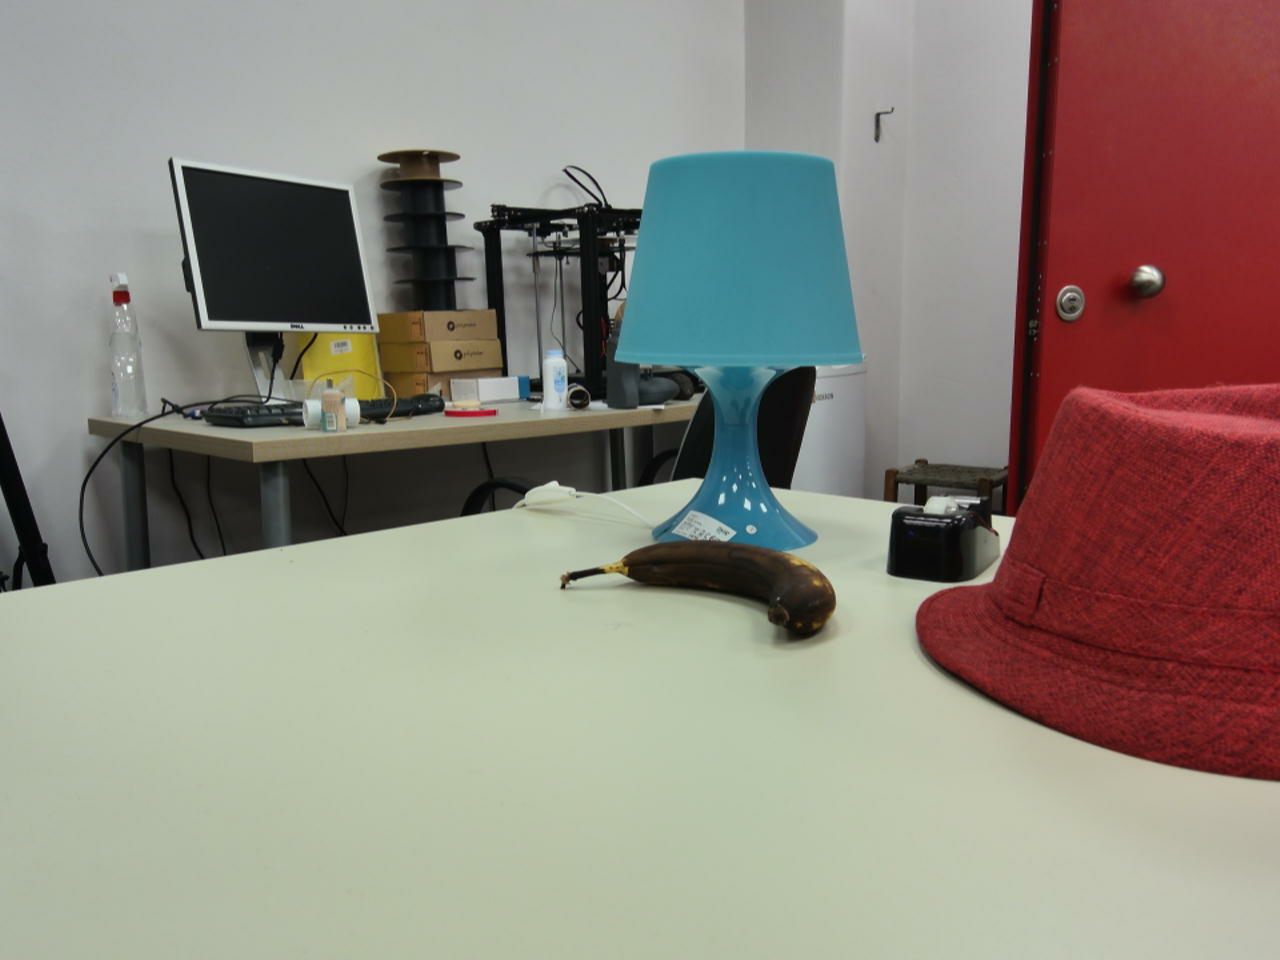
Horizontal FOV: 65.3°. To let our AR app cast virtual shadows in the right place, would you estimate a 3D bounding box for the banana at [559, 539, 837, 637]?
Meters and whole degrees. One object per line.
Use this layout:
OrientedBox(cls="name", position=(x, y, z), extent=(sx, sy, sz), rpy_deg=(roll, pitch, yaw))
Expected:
OrientedBox(cls="banana", position=(0.047, 0.058, 0.611), extent=(0.091, 0.033, 0.188), rpy_deg=(-5, 9, -41))
